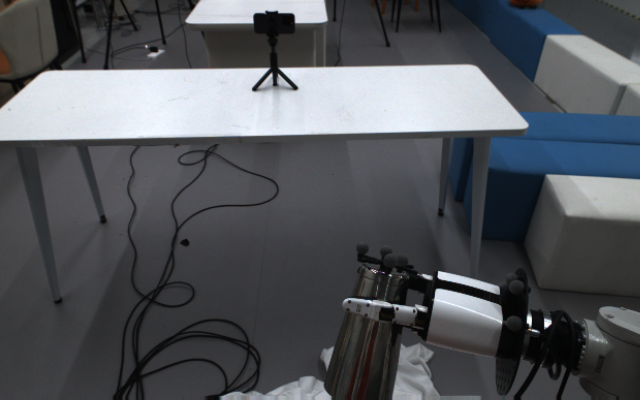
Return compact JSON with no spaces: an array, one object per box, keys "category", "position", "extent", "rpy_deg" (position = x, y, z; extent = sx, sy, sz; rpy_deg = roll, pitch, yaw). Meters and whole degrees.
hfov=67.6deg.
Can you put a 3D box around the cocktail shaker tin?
[{"category":"cocktail shaker tin","position":[0.069,0.172,0.644],"extent":[0.093,0.170,0.093],"rpy_deg":[13,3,-1]}]
